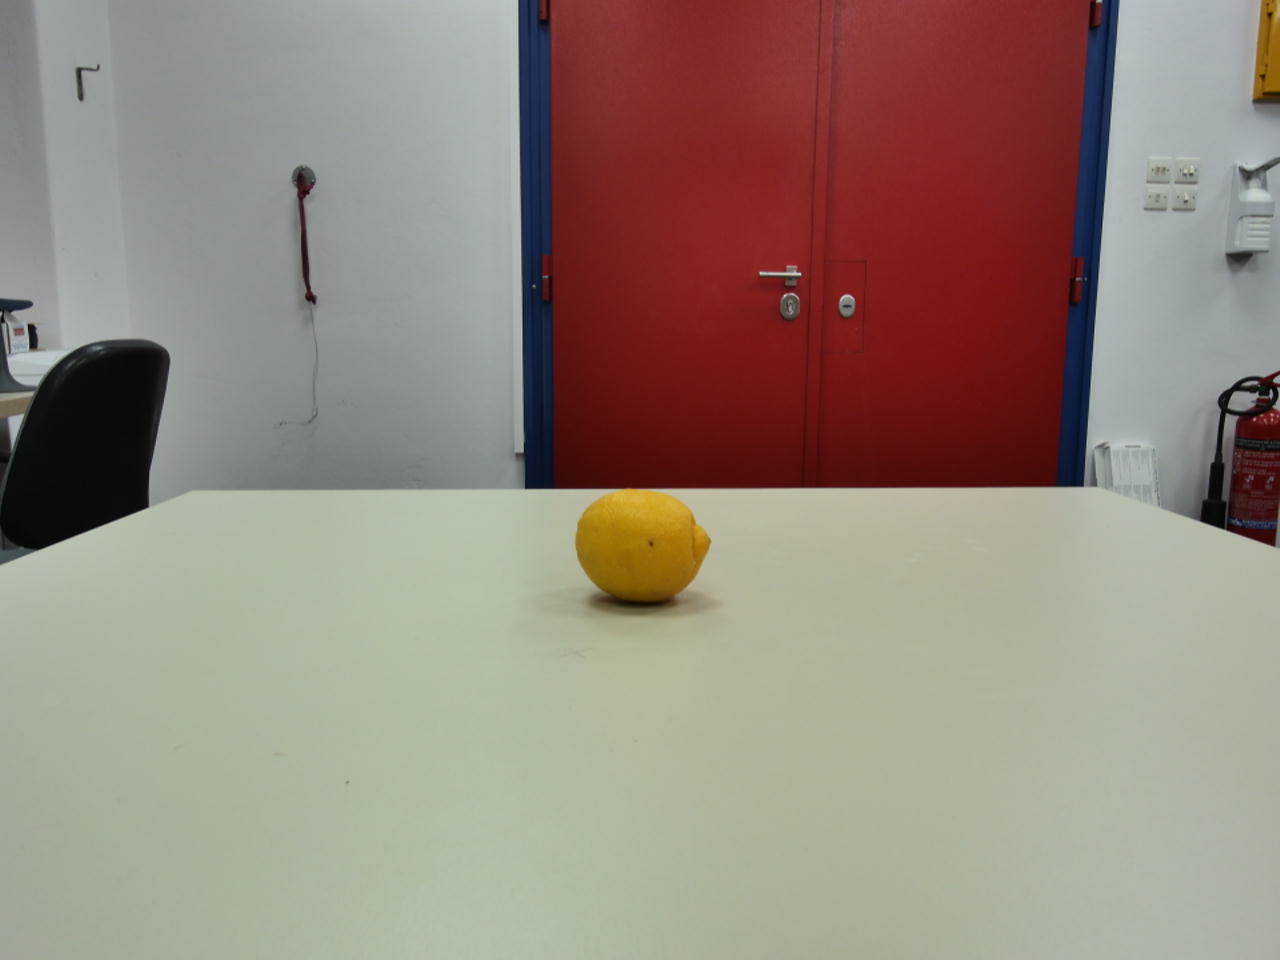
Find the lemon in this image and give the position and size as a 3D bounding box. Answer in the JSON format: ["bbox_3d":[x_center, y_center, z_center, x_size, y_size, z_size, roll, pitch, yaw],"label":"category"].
[{"bbox_3d":[0.000,0.035,0.531,0.067,0.059,0.060,7,9,41],"label":"lemon"}]
